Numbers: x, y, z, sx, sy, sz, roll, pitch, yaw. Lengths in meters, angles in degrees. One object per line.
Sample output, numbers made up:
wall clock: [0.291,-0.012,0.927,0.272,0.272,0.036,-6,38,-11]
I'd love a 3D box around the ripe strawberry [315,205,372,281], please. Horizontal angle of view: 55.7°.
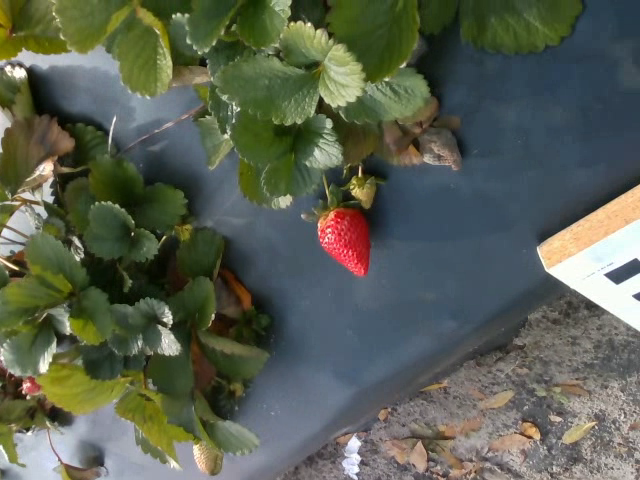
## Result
ripe strawberry: [0.020,0.002,0.423,0.045,0.058,0.050,-34,-2,29]
